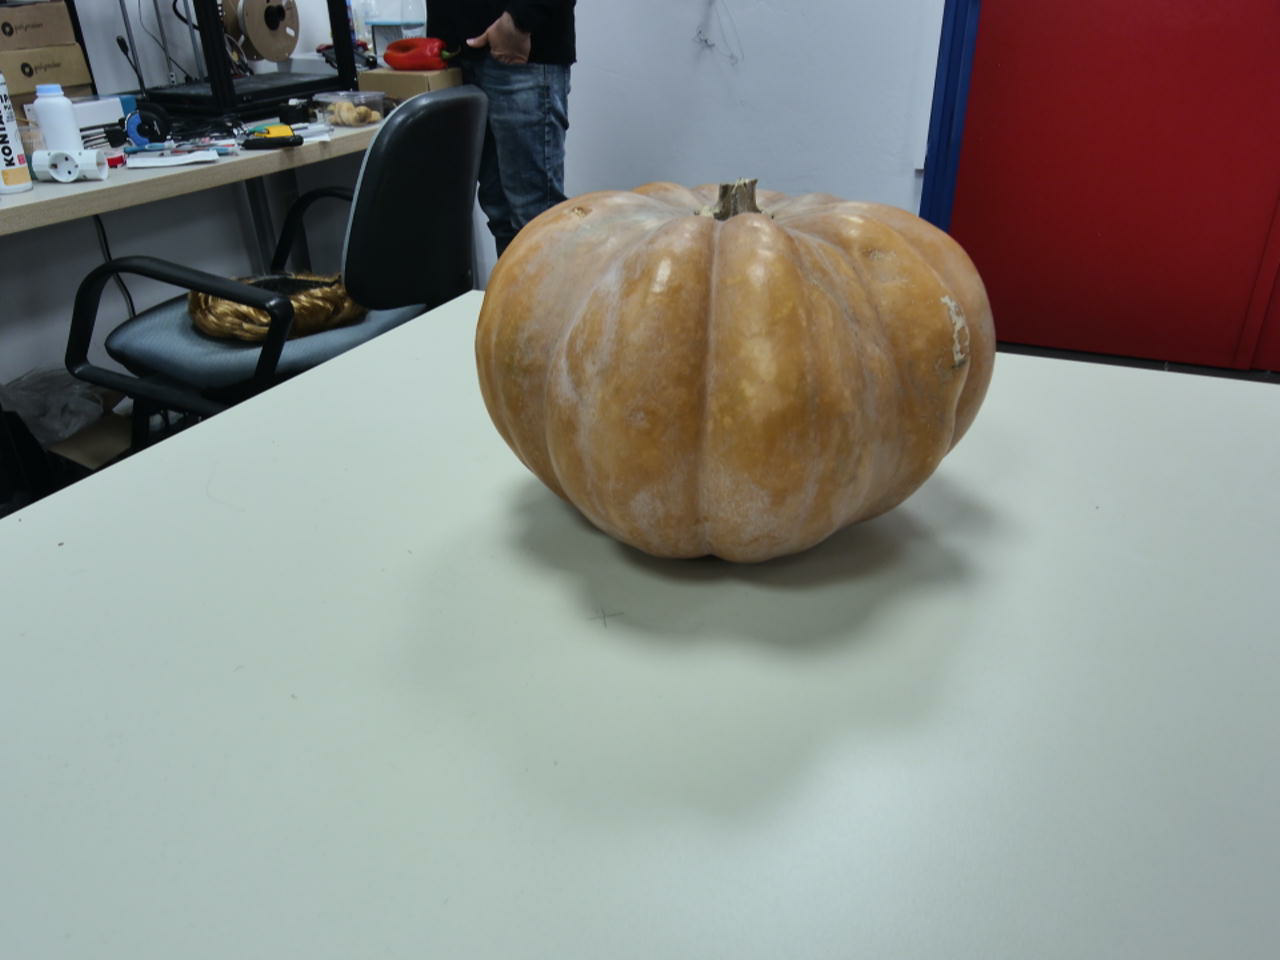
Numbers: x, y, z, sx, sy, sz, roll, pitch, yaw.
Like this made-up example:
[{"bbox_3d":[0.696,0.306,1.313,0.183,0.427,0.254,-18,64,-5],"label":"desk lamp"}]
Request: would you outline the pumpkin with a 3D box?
[{"bbox_3d":[0.044,-0.067,0.536,0.277,0.181,0.277,0,25,0],"label":"pumpkin"}]
